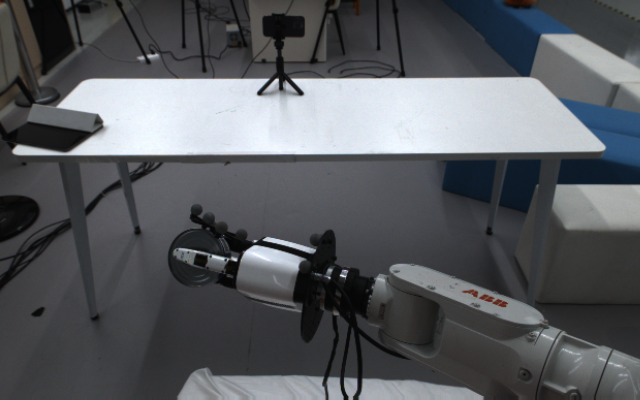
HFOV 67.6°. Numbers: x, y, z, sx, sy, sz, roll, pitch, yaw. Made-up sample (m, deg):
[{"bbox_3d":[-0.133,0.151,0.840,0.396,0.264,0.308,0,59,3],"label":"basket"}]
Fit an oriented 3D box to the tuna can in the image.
[{"bbox_3d":[-0.175,0.086,0.710,0.085,0.085,0.034,9,-5,10],"label":"tuna can"}]
